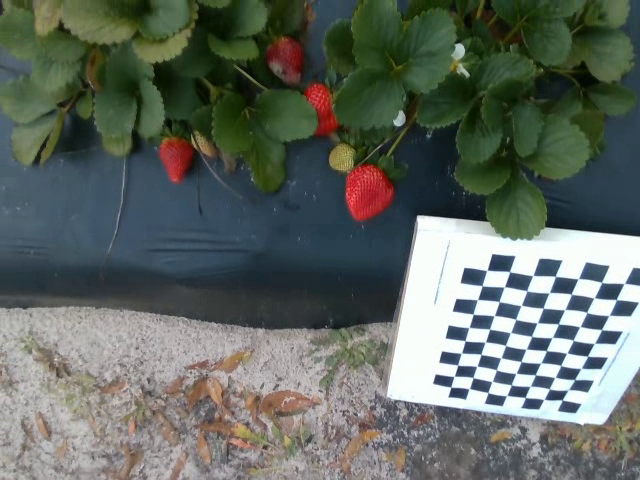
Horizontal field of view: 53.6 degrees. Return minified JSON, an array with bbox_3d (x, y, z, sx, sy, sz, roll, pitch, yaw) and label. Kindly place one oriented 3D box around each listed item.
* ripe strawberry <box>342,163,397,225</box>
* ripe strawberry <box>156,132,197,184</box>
[{"bbox_3d":[0.045,-0.044,0.632,0.057,0.065,0.056,-14,-49,42],"label":"ripe strawberry"},{"bbox_3d":[-0.150,-0.084,0.642,0.043,0.052,0.041,-6,-5,19],"label":"ripe strawberry"}]
